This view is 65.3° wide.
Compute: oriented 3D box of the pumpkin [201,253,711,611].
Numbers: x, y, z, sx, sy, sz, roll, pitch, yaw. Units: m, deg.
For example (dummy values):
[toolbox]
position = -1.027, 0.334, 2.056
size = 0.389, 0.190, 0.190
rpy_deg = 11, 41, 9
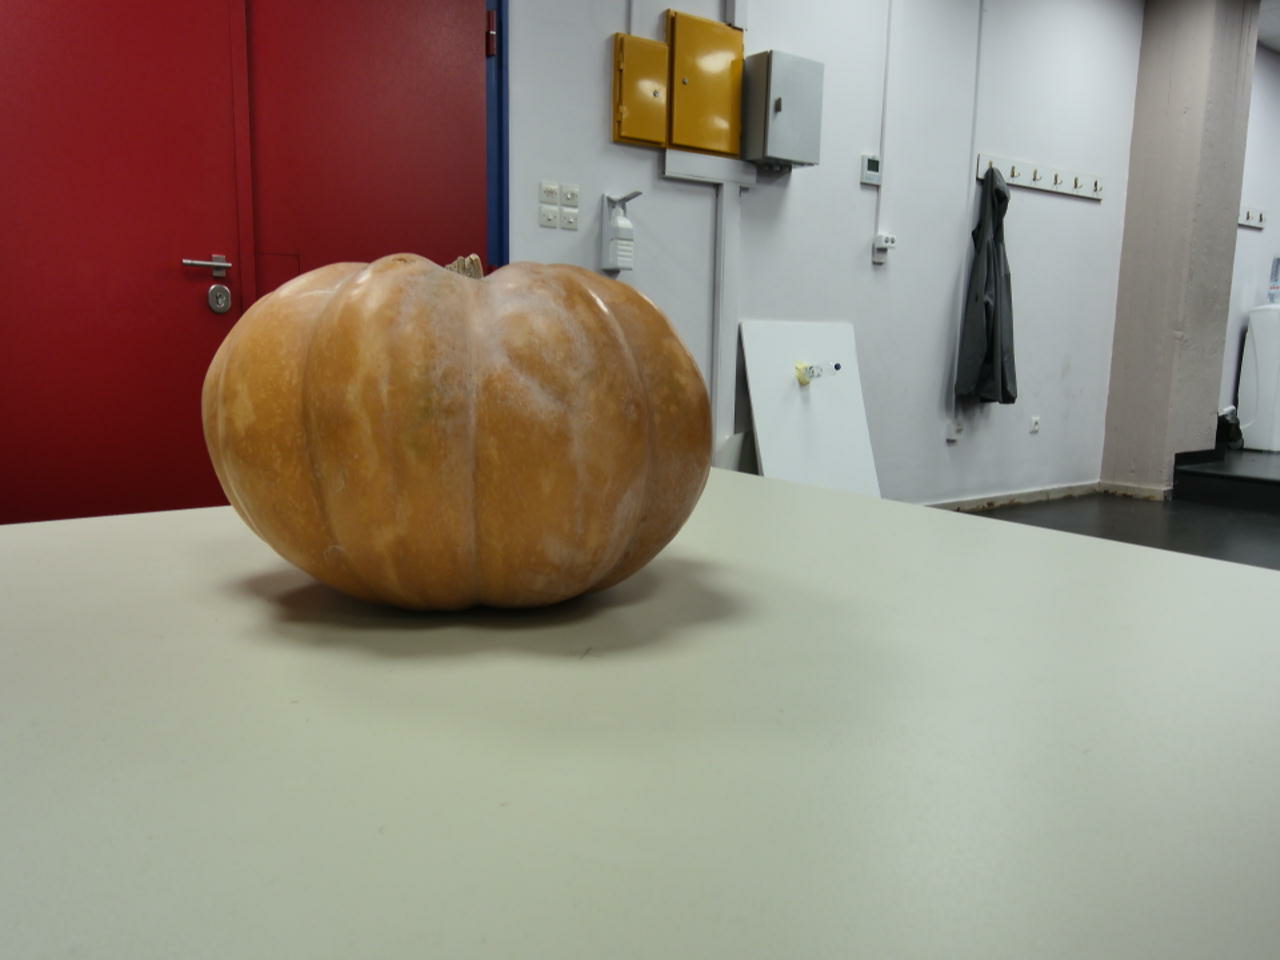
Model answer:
[pumpkin]
position = -0.093, -0.029, 0.539
size = 0.277, 0.181, 0.277
rpy_deg = 0, 7, 0
